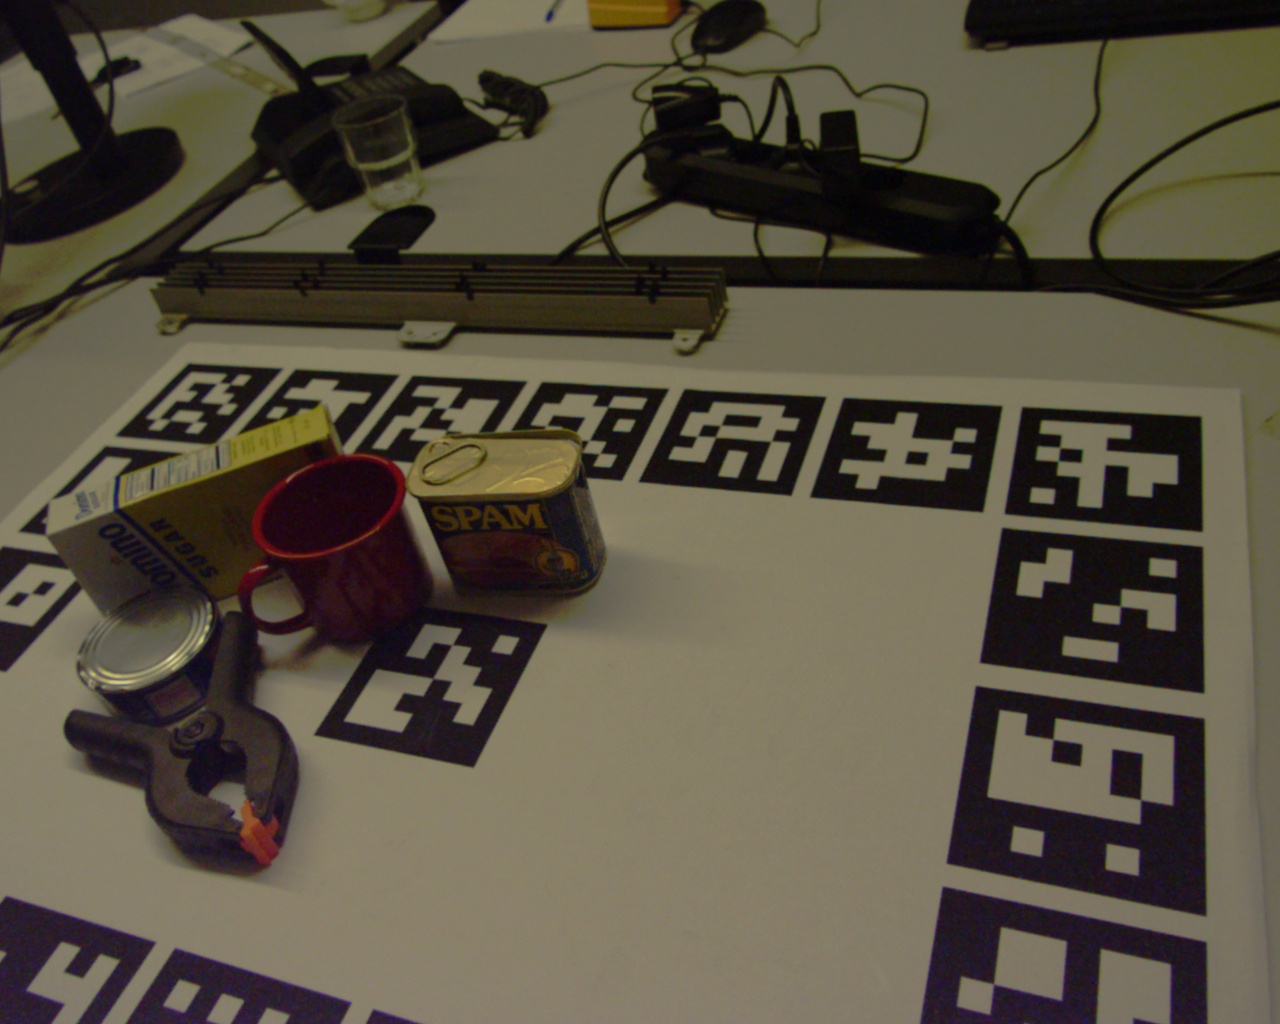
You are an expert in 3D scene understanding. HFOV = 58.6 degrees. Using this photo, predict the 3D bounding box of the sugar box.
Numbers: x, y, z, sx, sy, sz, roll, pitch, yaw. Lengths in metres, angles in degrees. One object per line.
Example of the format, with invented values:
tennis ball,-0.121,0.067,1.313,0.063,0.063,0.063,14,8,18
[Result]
sugar box,-0.279,0.011,0.750,0.176,0.092,0.046,-20,40,-8

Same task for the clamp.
clamp,-0.249,0.136,0.648,0.121,0.036,0.167,-30,48,-22

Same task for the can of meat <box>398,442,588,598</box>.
can of meat,-0.087,0.007,0.705,0.102,0.083,0.058,0,42,14

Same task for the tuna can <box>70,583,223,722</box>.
tuna can,-0.305,0.087,0.709,0.086,0.033,0.086,-9,44,8

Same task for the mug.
mug,-0.198,0.027,0.704,0.094,0.081,0.116,28,59,37
